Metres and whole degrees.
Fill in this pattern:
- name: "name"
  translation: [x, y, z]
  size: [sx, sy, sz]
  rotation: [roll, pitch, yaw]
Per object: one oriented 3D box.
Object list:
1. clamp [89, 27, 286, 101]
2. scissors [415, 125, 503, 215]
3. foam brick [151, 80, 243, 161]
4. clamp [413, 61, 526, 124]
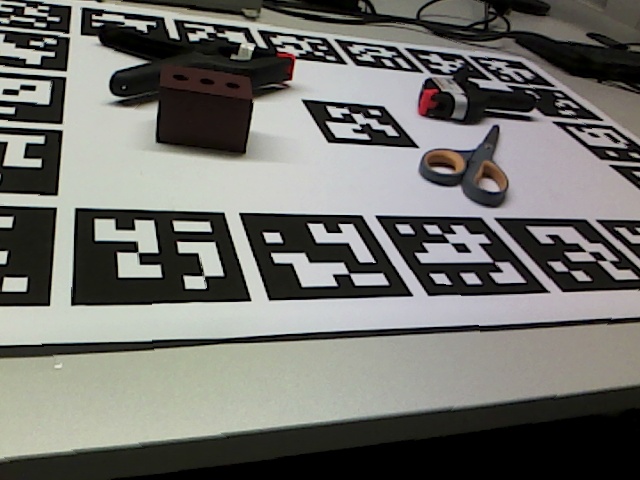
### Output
- name: "clamp"
  translation: [-0.133, -0.185, 0.662]
  size: [0.202, 0.036, 0.166]
  rotation: [-3, 35, -24]
- name: "scissors"
  translation: [0.156, -0.088, 0.642]
  size: [0.088, 0.016, 0.202]
  rotation: [29, 35, 7]
- name: "foam brick"
  translation: [-0.108, -0.106, 0.550]
  size: [0.078, 0.051, 0.053]
  rotation: [1, 38, -12]
- name: "clamp"
  translation: [0.172, -0.179, 0.771]
  size: [0.164, 0.036, 0.122]
  rotation: [-23, 56, -41]
